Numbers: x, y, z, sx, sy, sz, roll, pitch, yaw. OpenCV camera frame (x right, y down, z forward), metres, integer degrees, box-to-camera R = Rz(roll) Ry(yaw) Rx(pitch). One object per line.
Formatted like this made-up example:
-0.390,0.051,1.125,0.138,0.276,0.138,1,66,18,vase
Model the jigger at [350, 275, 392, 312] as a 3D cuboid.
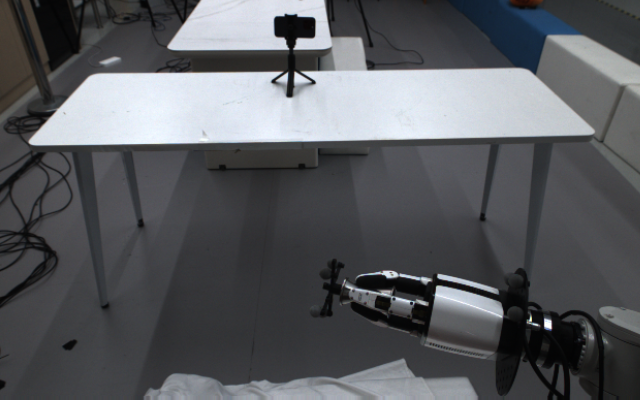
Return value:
0.071,0.127,0.656,0.071,0.043,0.043,10,35,16,jigger
